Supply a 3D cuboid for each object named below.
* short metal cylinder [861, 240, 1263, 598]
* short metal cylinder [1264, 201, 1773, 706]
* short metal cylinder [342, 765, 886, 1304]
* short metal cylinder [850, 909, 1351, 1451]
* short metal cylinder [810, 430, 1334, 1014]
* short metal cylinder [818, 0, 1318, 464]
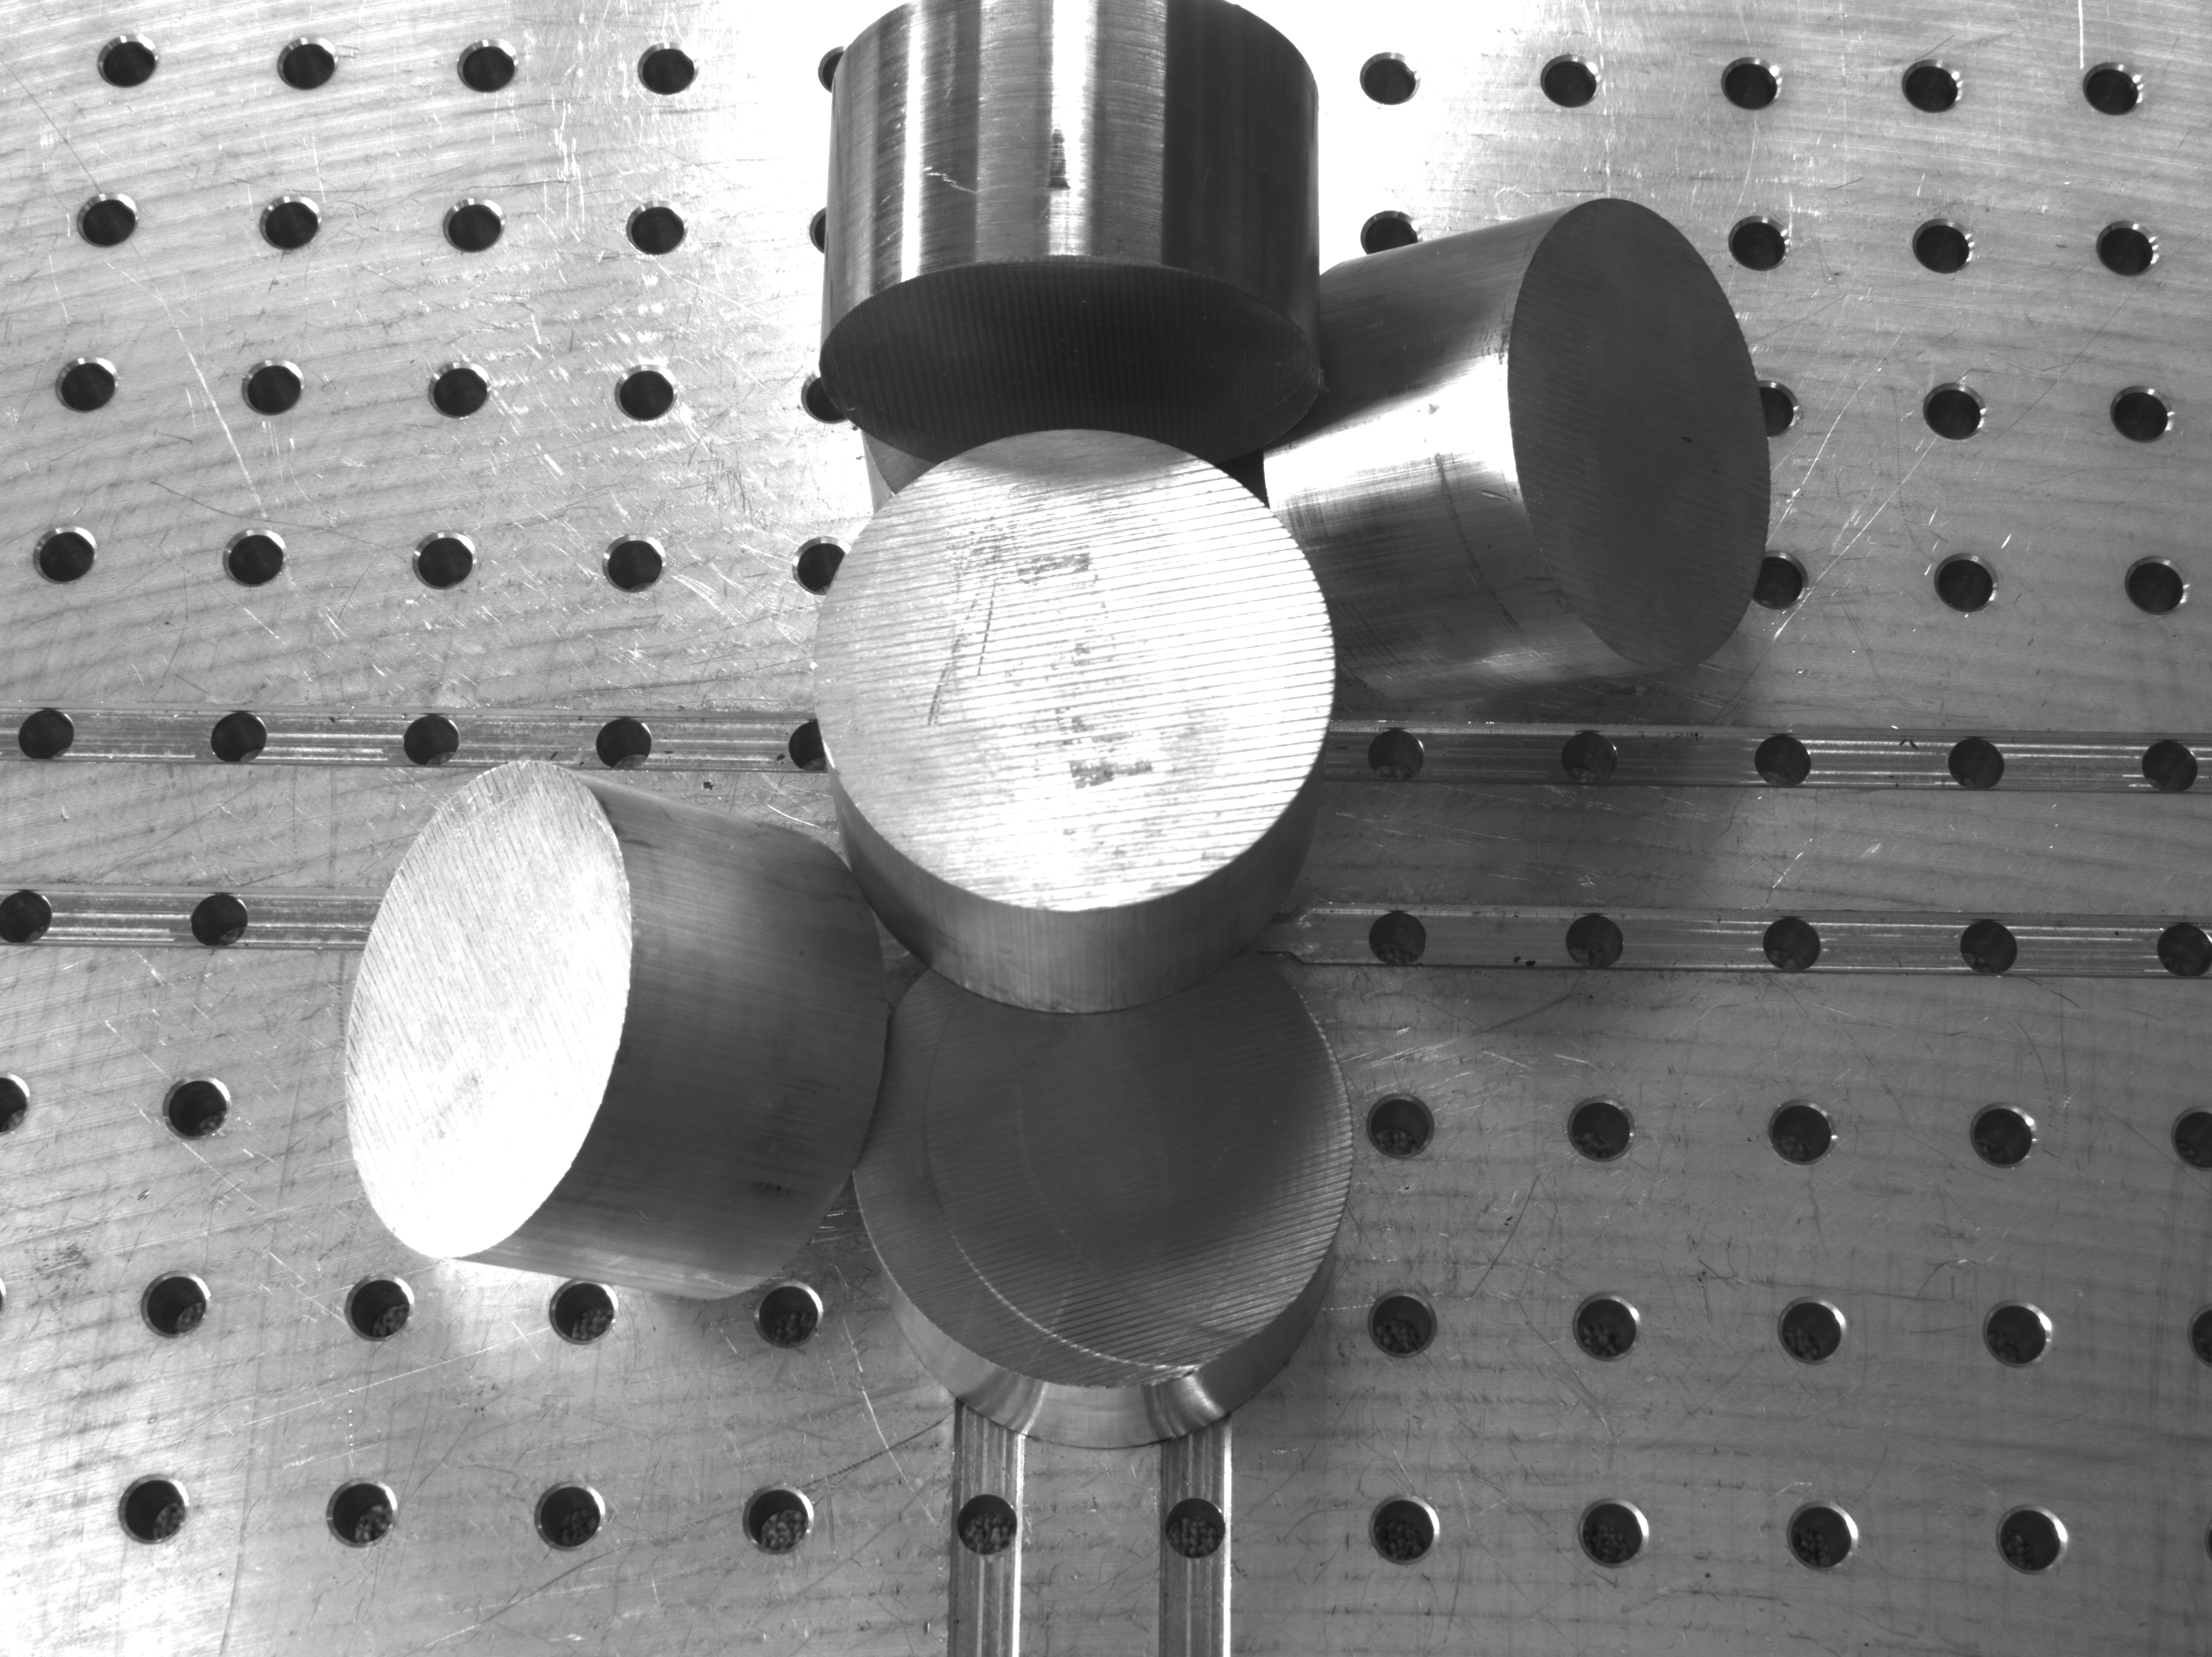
[{"bbox_3d":[-0.003,-0.069,0.660,0.080,0.050,0.080,0,70,0],"label":"short metal cylinder"},{"bbox_3d":[0.072,-0.063,0.635,0.050,0.080,0.080,-7,63,41],"label":"short metal cylinder"},{"bbox_3d":[-0.081,0.034,0.600,0.050,0.080,0.080,17,63,-41],"label":"short metal cylinder"},{"bbox_3d":[-0.001,0.059,0.612,0.080,0.050,0.080,0,71,0],"label":"short metal cylinder"},{"bbox_3d":[-0.005,-0.016,0.586,0.080,0.050,0.080,0,70,0],"label":"short metal cylinder"},{"bbox_3d":[-0.006,-0.096,0.599,0.080,0.080,0.050,0,70,0],"label":"short metal cylinder"}]
